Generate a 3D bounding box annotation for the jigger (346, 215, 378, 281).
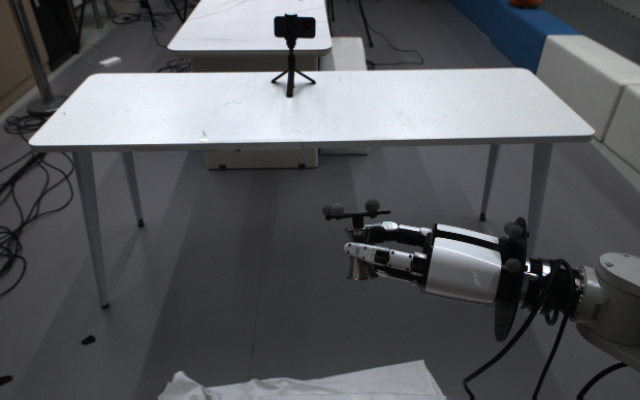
[{"bbox_3d":[0.054,0.070,0.654,0.043,0.071,0.043,-4,1,0],"label":"jigger"}]
